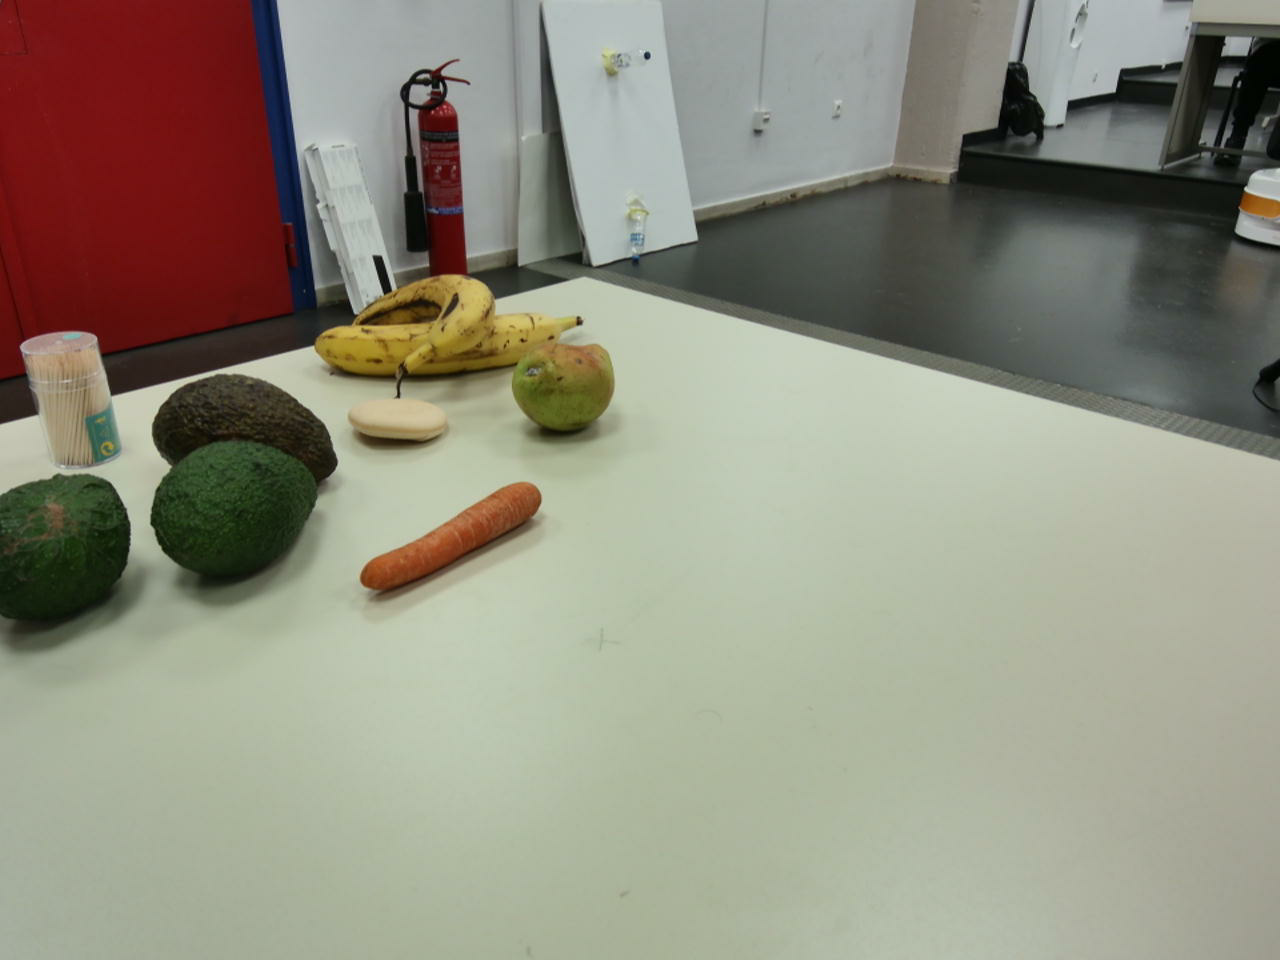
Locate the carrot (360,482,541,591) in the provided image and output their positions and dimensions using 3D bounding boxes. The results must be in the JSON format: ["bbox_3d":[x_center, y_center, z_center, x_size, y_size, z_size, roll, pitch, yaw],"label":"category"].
[{"bbox_3d":[-0.097,0.029,0.529,0.024,0.023,0.122,19,30,34],"label":"carrot"}]
